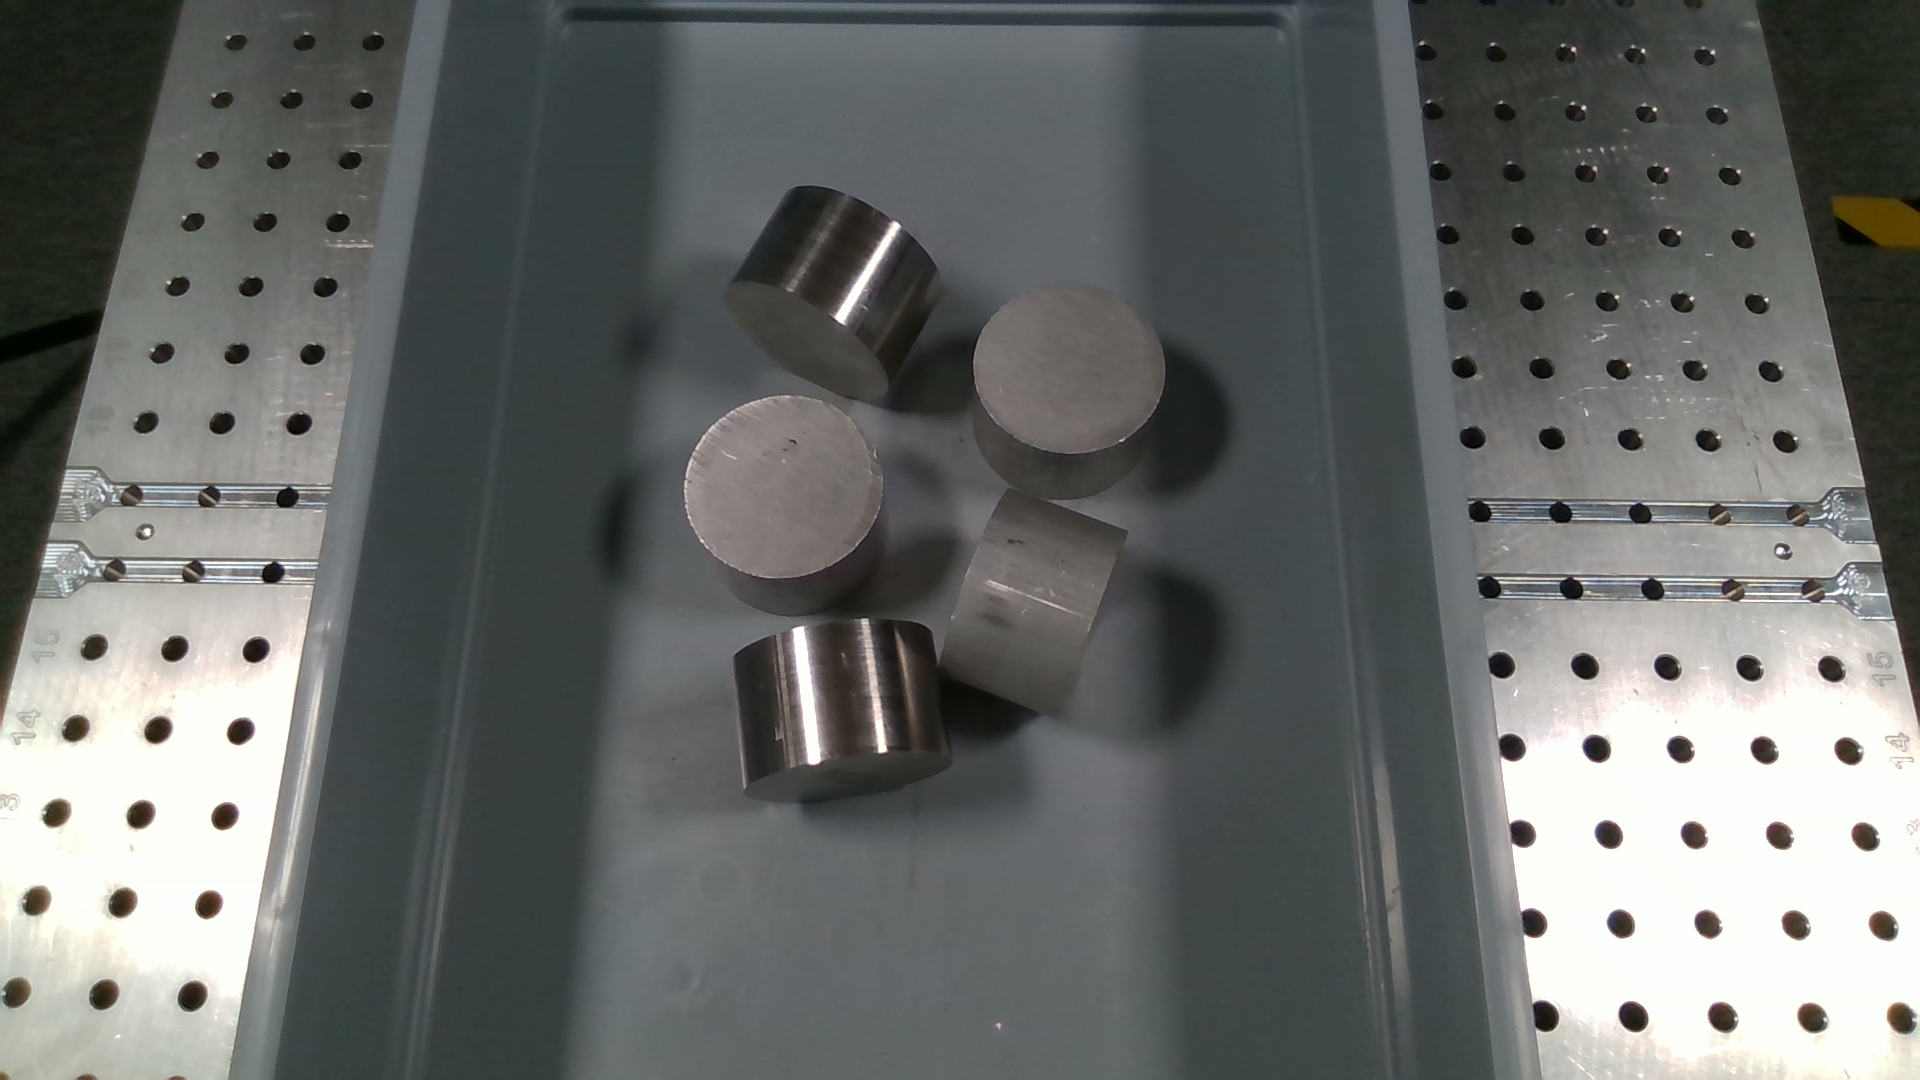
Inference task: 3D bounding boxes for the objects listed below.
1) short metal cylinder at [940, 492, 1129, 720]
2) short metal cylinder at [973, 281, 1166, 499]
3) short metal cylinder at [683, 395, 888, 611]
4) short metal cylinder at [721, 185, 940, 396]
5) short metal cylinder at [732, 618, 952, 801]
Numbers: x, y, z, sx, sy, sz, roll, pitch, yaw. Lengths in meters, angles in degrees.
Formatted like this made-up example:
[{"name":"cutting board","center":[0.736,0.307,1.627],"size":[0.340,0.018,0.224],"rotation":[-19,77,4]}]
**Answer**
[{"name":"short metal cylinder","center":[0.030,0.025,0.550],"size":[0.050,0.080,0.080],"rotation":[20,71,7]},{"name":"short metal cylinder","center":[0.046,-0.064,0.596],"size":[0.080,0.050,0.080],"rotation":[0,70,0]},{"name":"short metal cylinder","center":[-0.071,-0.014,0.578],"size":[0.080,0.050,0.080],"rotation":[0,70,0]},{"name":"short metal cylinder","center":[-0.055,-0.106,0.595],"size":[0.080,0.080,0.050],"rotation":[25,72,9]},{"name":"short metal cylinder","center":[-0.047,0.067,0.533],"size":[0.080,0.080,0.050],"rotation":[-9,70,-3]}]
